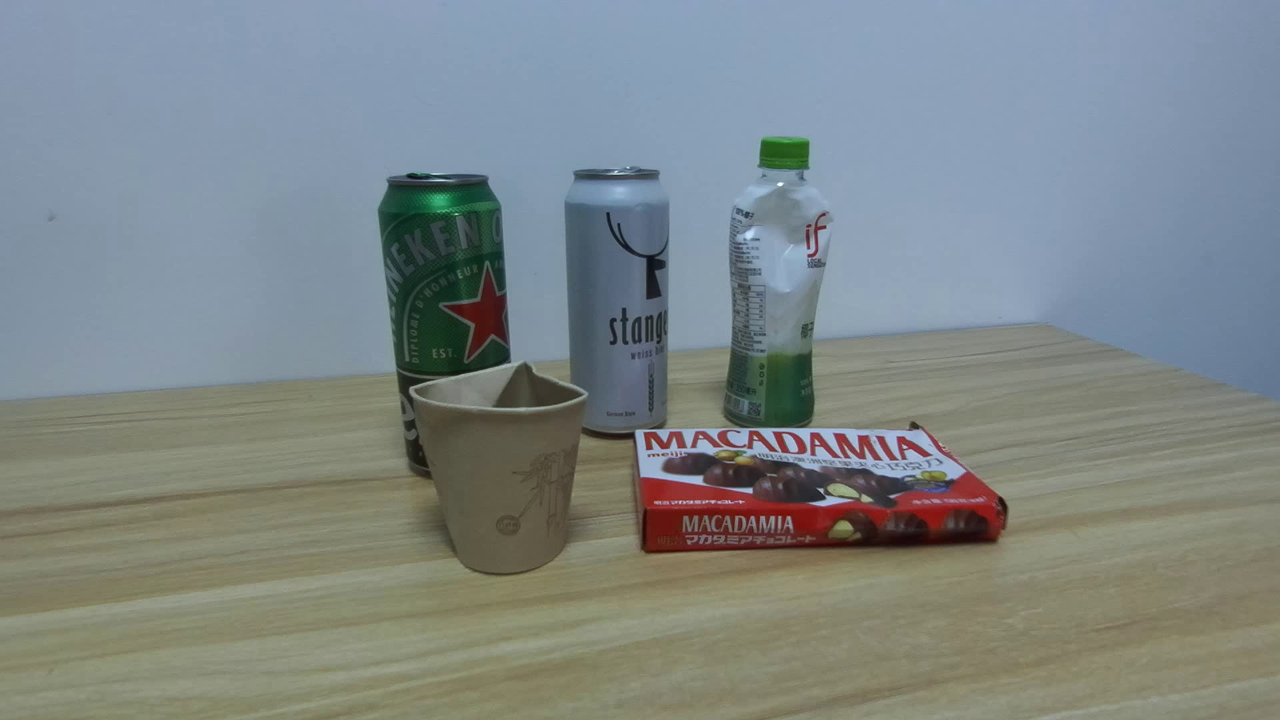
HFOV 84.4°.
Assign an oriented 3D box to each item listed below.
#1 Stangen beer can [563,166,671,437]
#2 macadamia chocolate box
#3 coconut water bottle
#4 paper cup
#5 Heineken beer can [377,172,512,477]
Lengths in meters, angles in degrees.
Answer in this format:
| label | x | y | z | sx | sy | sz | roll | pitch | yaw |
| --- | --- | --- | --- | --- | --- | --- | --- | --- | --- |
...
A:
| label | x | y | z | sx | sy | sz | roll | pitch | yaw |
| --- | --- | --- | --- | --- | --- | --- | --- | --- | --- |
| Stangen beer can | -0.014 | -0.036 | 0.464 | 0.067 | 0.171 | 0.067 | 0 | 15 | 0 |
| macadamia chocolate box | 0.089 | 0.066 | 0.382 | 0.183 | 0.028 | 0.105 | -1 | 18 | -4 |
| coconut water bottle | 0.091 | -0.050 | 0.469 | 0.069 | 0.187 | 0.069 | 2 | 17 | 0 |
| paper cup | -0.064 | 0.051 | 0.331 | 0.066 | 0.084 | 0.071 | -12 | 21 | -35 |
| Heineken beer can | -0.109 | -0.019 | 0.409 | 0.067 | 0.169 | 0.067 | -1 | 17 | 1 |
